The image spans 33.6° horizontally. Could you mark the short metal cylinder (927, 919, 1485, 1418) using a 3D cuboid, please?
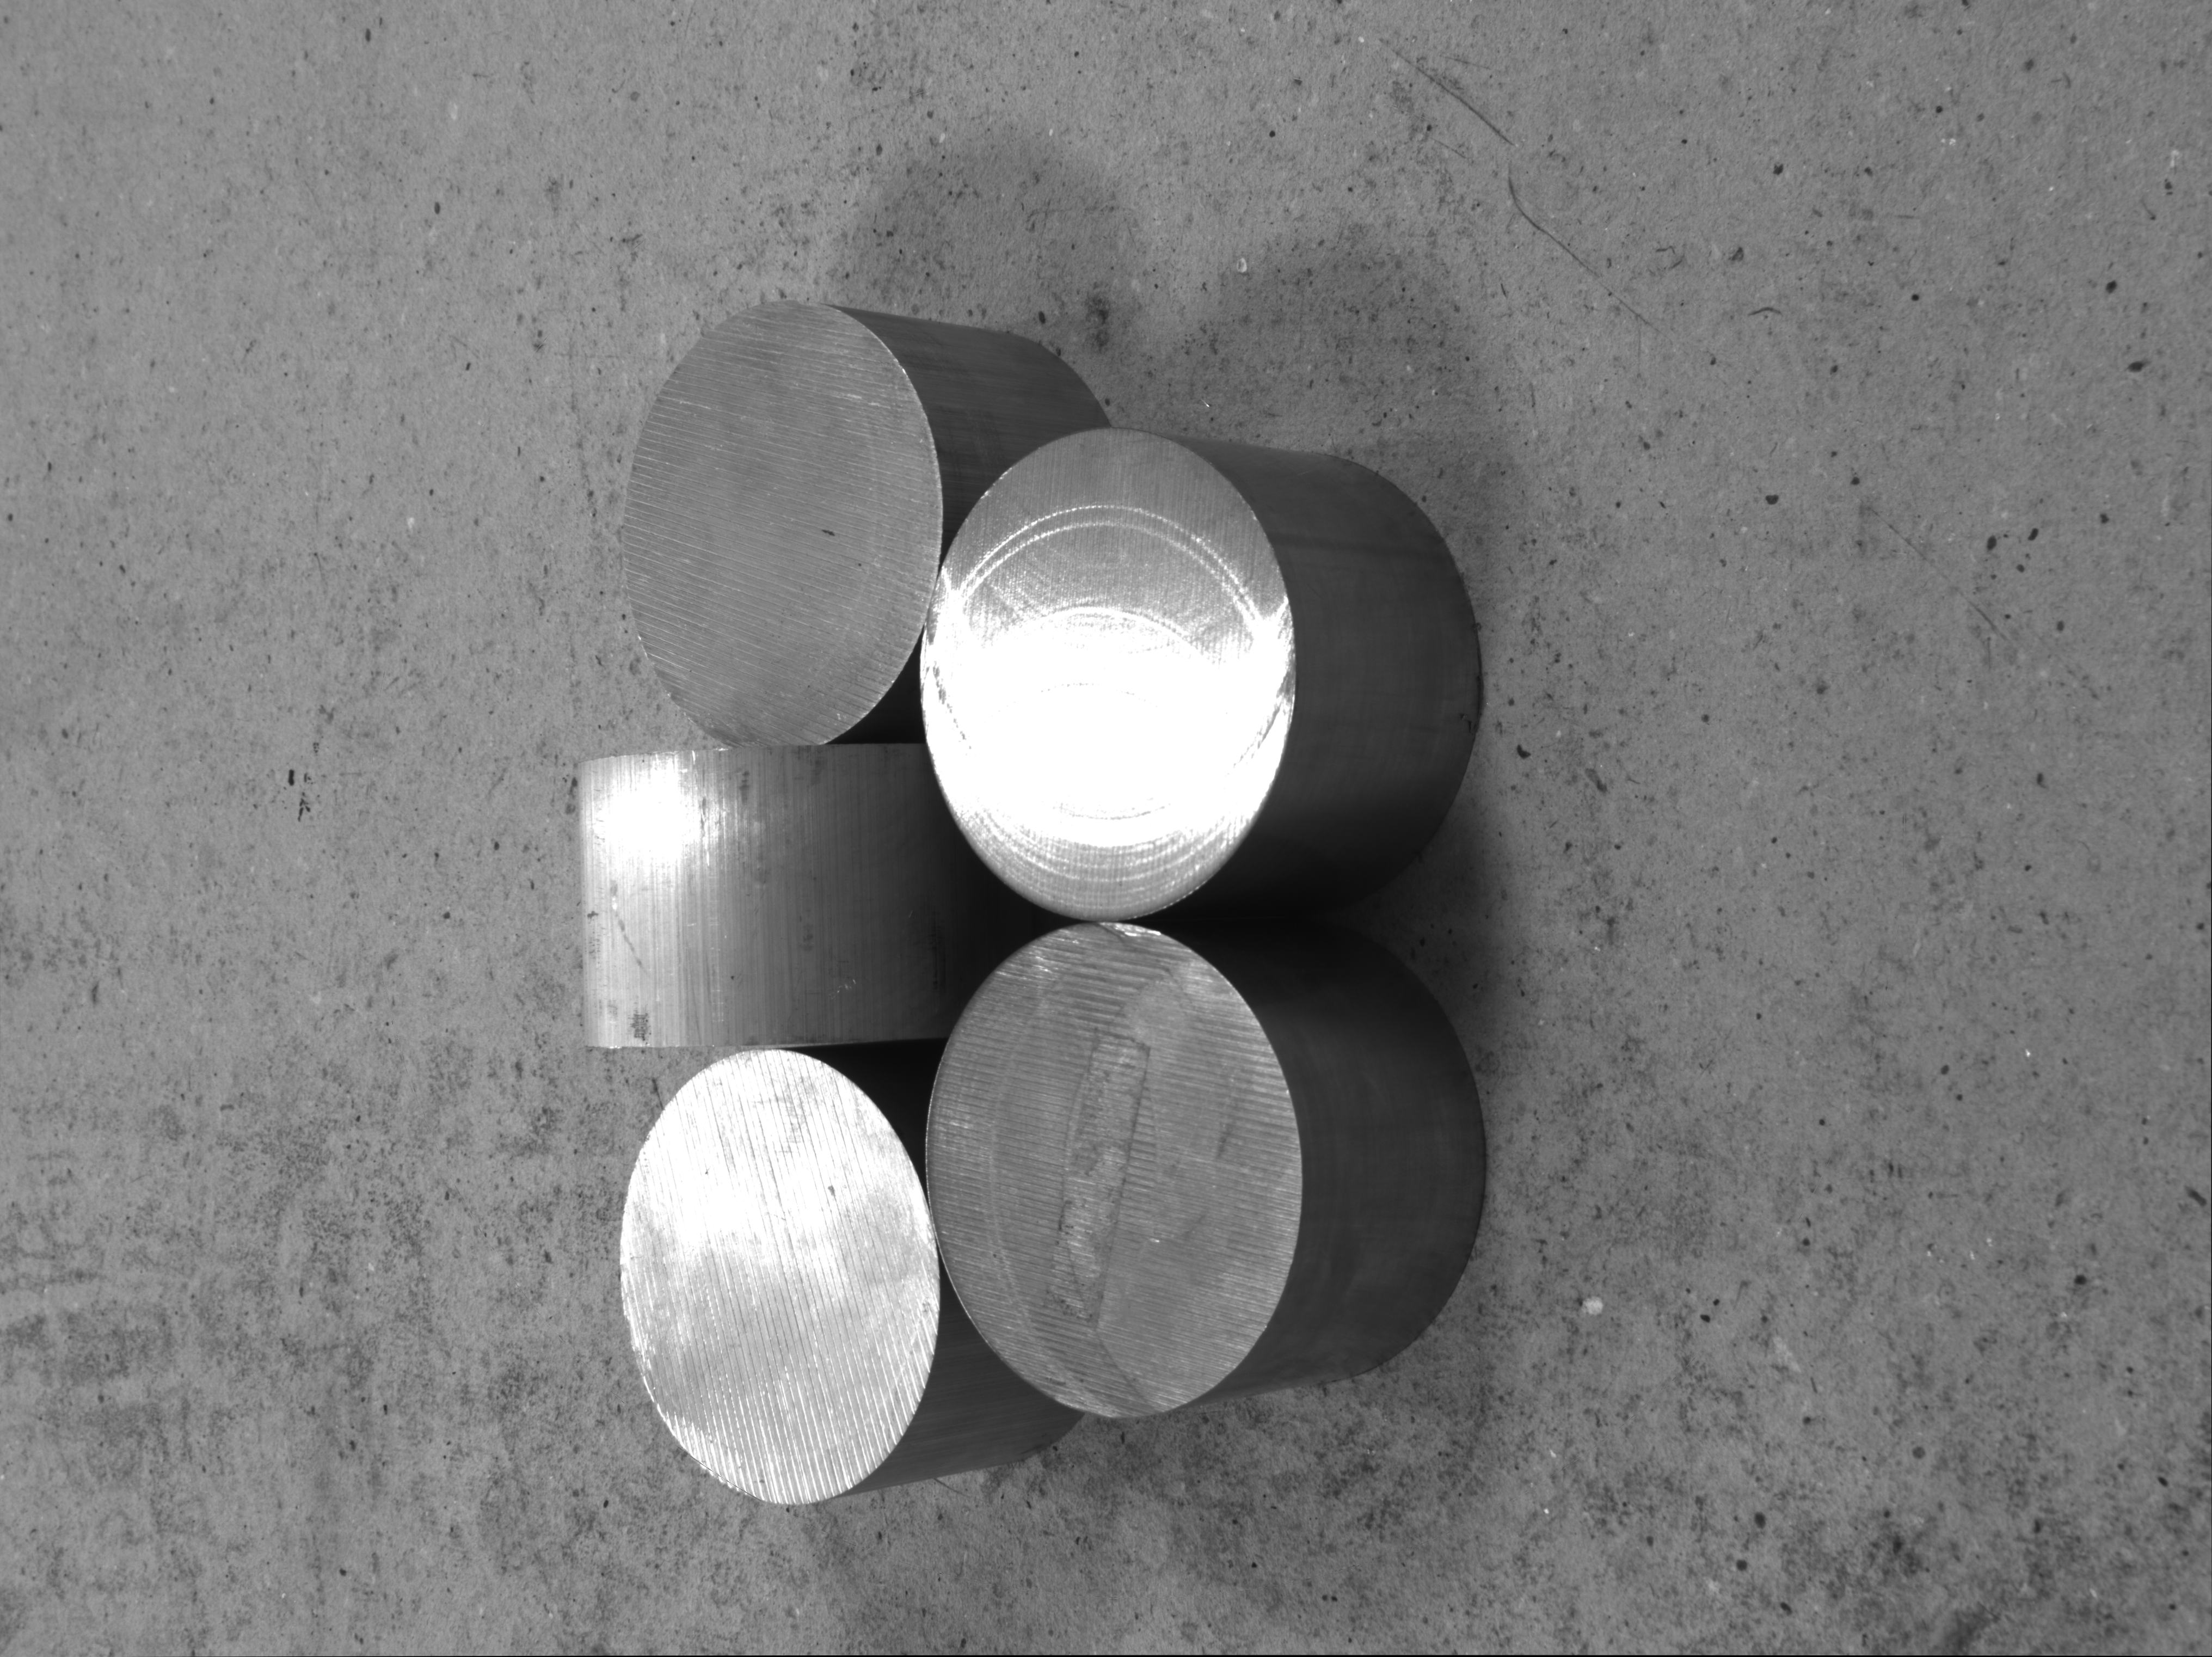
[{"bbox_3d":[0.016,0.055,0.614,0.080,0.050,0.080,0,91,41],"label":"short metal cylinder"}]

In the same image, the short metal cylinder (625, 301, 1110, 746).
[{"bbox_3d":[-0.042,-0.053,0.664,0.080,0.050,0.080,0,90,41],"label":"short metal cylinder"}]

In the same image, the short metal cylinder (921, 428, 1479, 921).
[{"bbox_3d":[0.015,-0.025,0.615,0.080,0.050,0.080,0,91,40],"label":"short metal cylinder"}]

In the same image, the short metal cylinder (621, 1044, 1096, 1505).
[{"bbox_3d":[-0.042,0.079,0.664,0.080,0.050,0.080,0,90,41],"label":"short metal cylinder"}]

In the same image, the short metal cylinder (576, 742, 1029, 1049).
[{"bbox_3d":[-0.054,0.012,0.654,0.080,0.080,0.050,-4,87,40],"label":"short metal cylinder"}]
